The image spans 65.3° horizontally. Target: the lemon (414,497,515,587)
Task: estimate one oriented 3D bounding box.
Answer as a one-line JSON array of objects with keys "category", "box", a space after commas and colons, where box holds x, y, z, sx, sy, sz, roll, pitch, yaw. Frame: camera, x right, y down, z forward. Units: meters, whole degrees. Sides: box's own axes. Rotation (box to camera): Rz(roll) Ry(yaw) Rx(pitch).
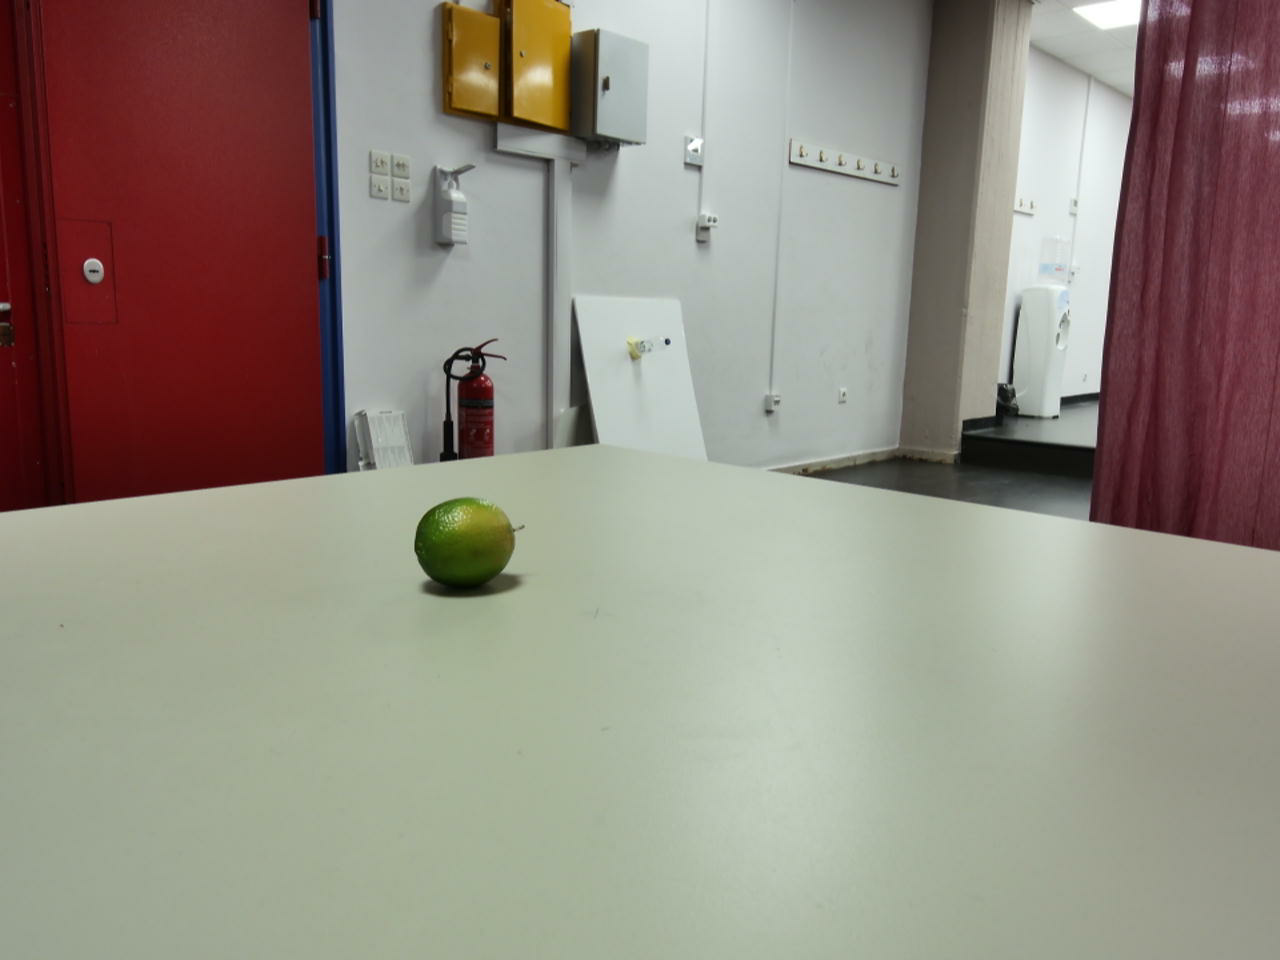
[{"category": "lemon", "box": [-0.099, 0.035, 0.569, 0.055, 0.050, 0.054, 1, 8, 2]}]
